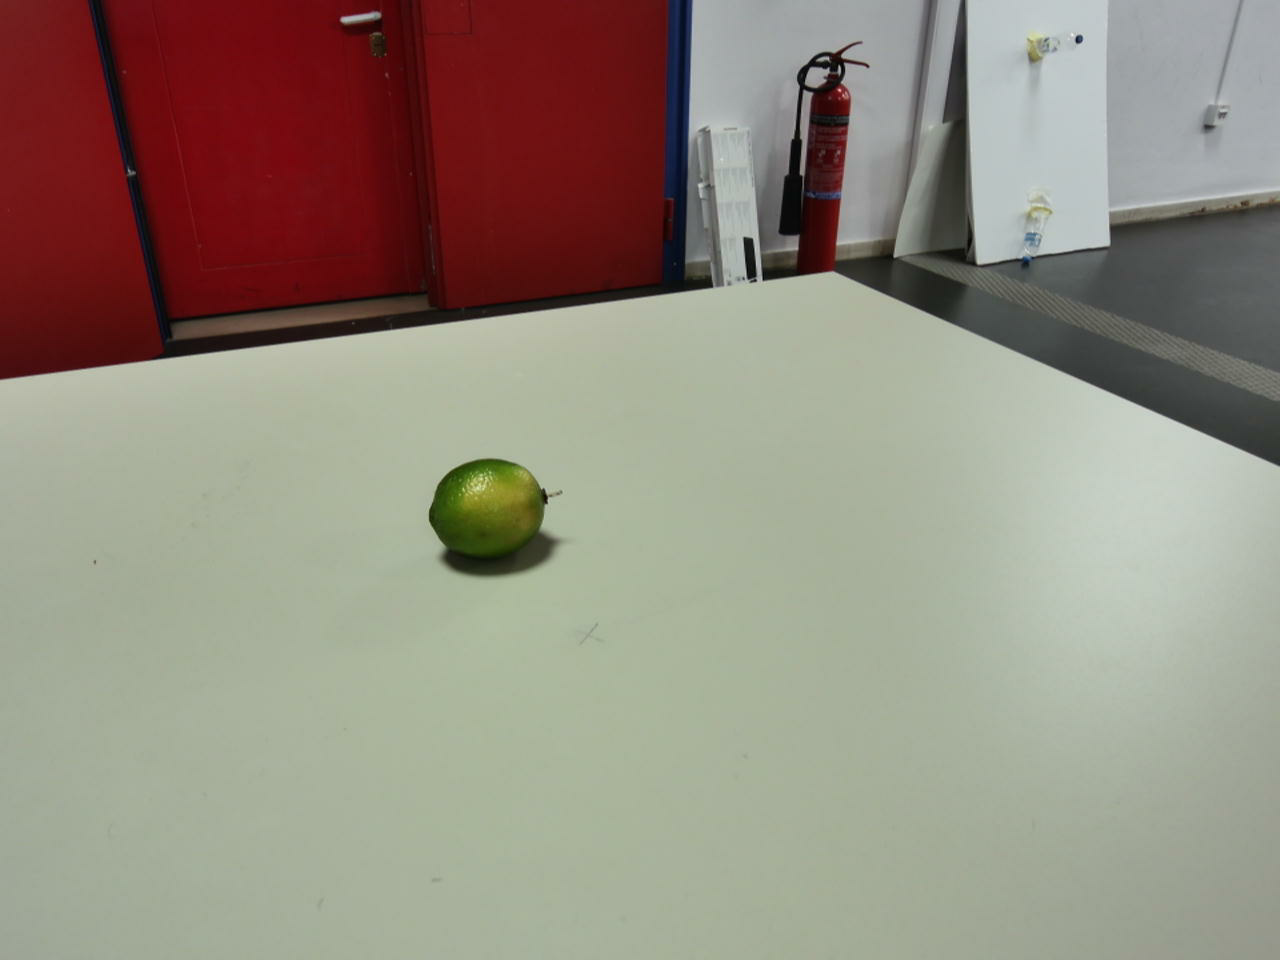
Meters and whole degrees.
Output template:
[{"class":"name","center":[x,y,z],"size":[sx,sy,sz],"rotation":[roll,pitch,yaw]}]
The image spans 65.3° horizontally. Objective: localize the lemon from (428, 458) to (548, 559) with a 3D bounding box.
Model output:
[{"class":"lemon","center":[-0.078,0.014,0.513],"size":[0.055,0.050,0.054],"rotation":[11,28,22]}]
